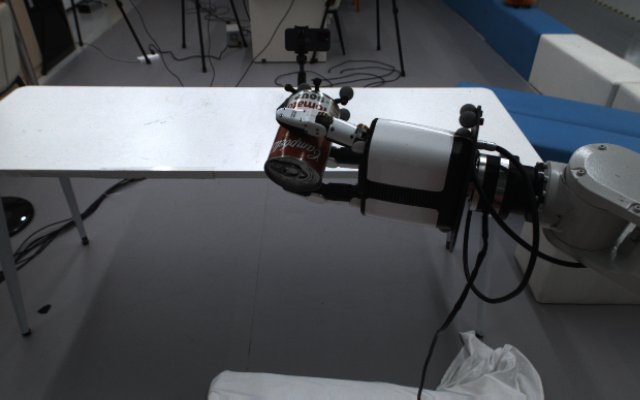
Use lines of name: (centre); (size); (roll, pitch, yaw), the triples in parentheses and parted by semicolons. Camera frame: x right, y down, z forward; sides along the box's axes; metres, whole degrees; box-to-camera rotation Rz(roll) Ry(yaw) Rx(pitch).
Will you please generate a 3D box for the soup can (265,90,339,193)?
soup can: (-0.017, -0.071, 0.568); (0.067, 0.067, 0.101); (9, 60, 10)
